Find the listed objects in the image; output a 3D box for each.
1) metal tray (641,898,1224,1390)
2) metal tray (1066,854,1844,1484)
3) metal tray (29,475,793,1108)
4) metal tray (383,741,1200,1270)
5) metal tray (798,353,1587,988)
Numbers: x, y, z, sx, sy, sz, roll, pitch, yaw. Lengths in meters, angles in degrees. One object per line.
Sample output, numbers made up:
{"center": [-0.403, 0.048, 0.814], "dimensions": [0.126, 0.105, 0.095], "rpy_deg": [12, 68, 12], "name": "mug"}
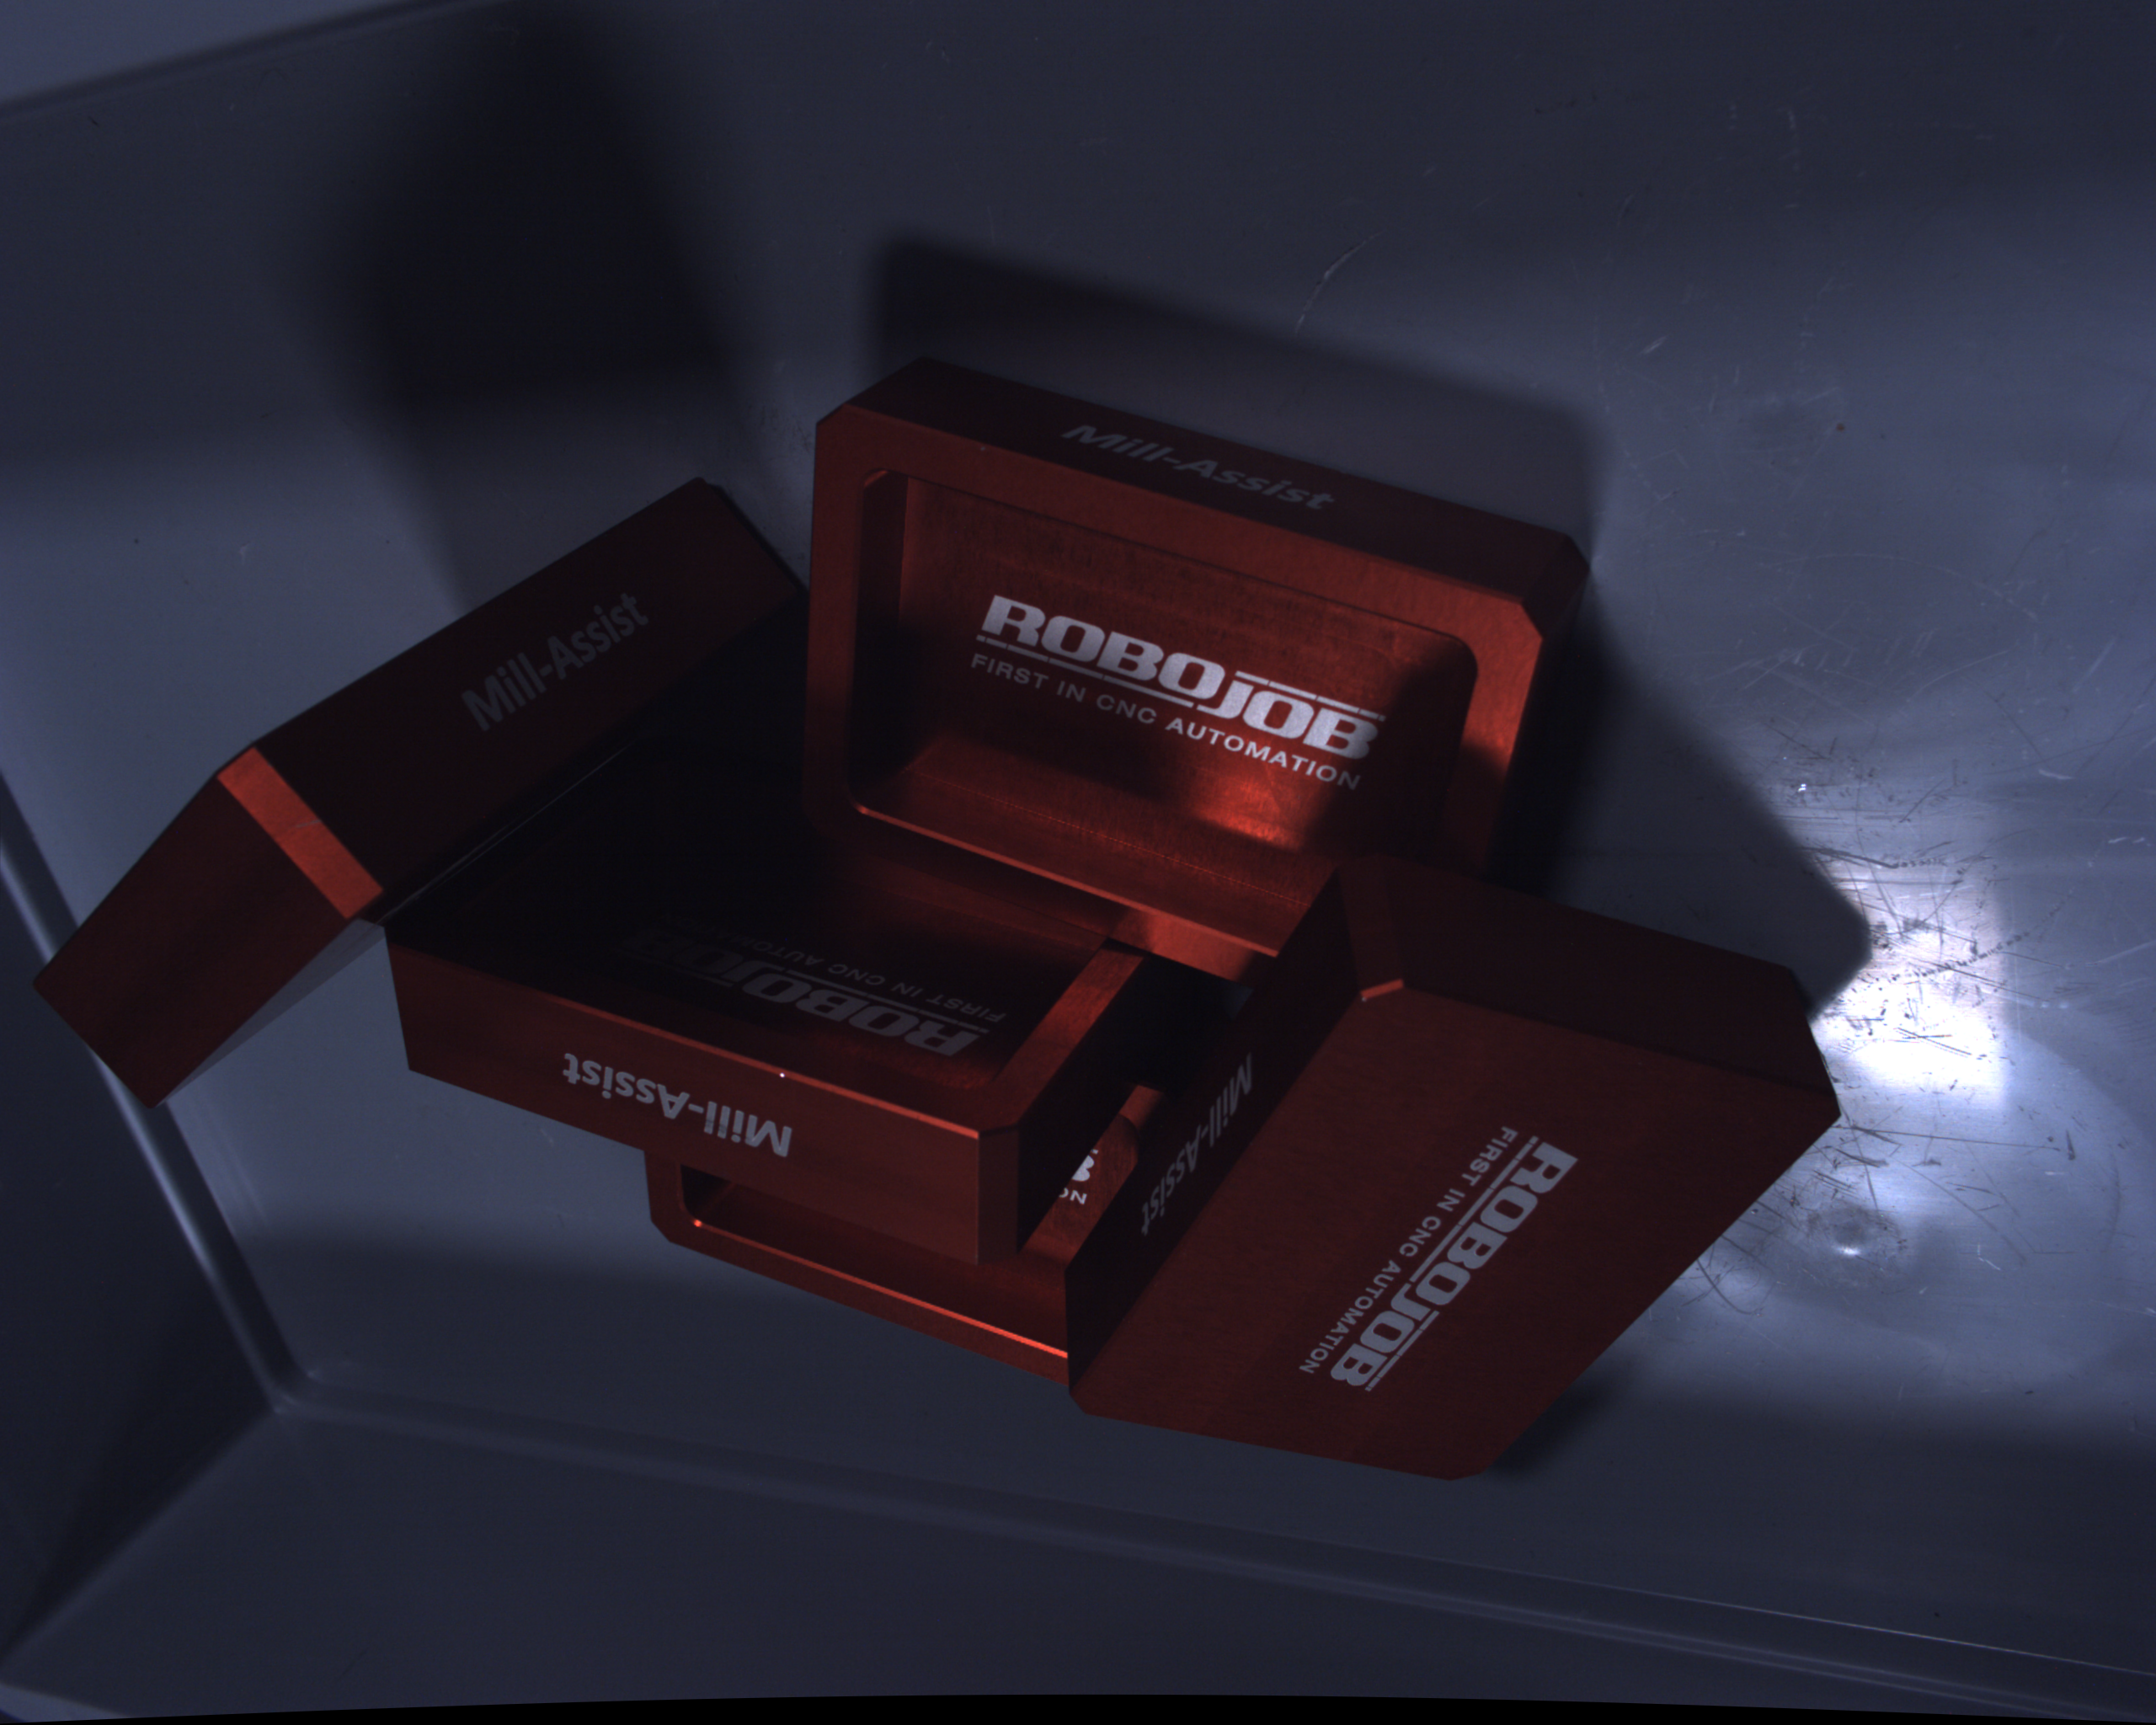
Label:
{"center": [-0.034, 0.060, 0.455], "dimensions": [0.130, 0.030, 0.089], "rpy_deg": [15, 125, 19], "name": "metal tray"}
{"center": [0.063, 0.062, 0.382], "dimensions": [0.091, 0.030, 0.129], "rpy_deg": [15, 131, -17], "name": "metal tray"}
{"center": [-0.119, -0.016, 0.388], "dimensions": [0.090, 0.131, 0.030], "rpy_deg": [-33, 100, 38], "name": "metal tray"}
{"center": [-0.053, 0.022, 0.403], "dimensions": [0.130, 0.090, 0.030], "rpy_deg": [15, 124, 19], "name": "metal tray"}
{"center": [0.015, -0.030, 0.375], "dimensions": [0.130, 0.030, 0.089], "rpy_deg": [19, 126, 16], "name": "metal tray"}
